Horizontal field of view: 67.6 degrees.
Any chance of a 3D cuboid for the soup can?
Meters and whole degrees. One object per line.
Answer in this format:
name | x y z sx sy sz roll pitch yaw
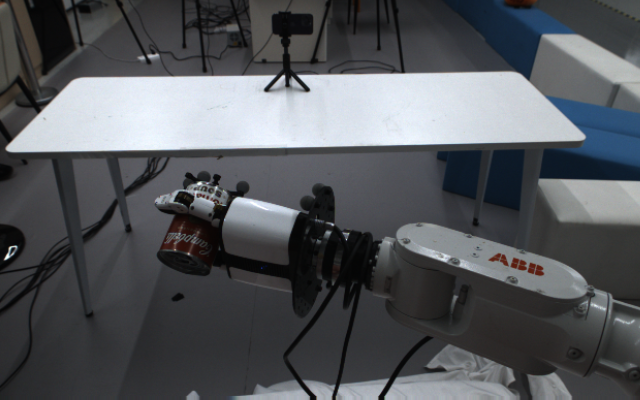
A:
soup can | -0.153 0.036 0.609 0.067 0.067 0.101 9 58 10
